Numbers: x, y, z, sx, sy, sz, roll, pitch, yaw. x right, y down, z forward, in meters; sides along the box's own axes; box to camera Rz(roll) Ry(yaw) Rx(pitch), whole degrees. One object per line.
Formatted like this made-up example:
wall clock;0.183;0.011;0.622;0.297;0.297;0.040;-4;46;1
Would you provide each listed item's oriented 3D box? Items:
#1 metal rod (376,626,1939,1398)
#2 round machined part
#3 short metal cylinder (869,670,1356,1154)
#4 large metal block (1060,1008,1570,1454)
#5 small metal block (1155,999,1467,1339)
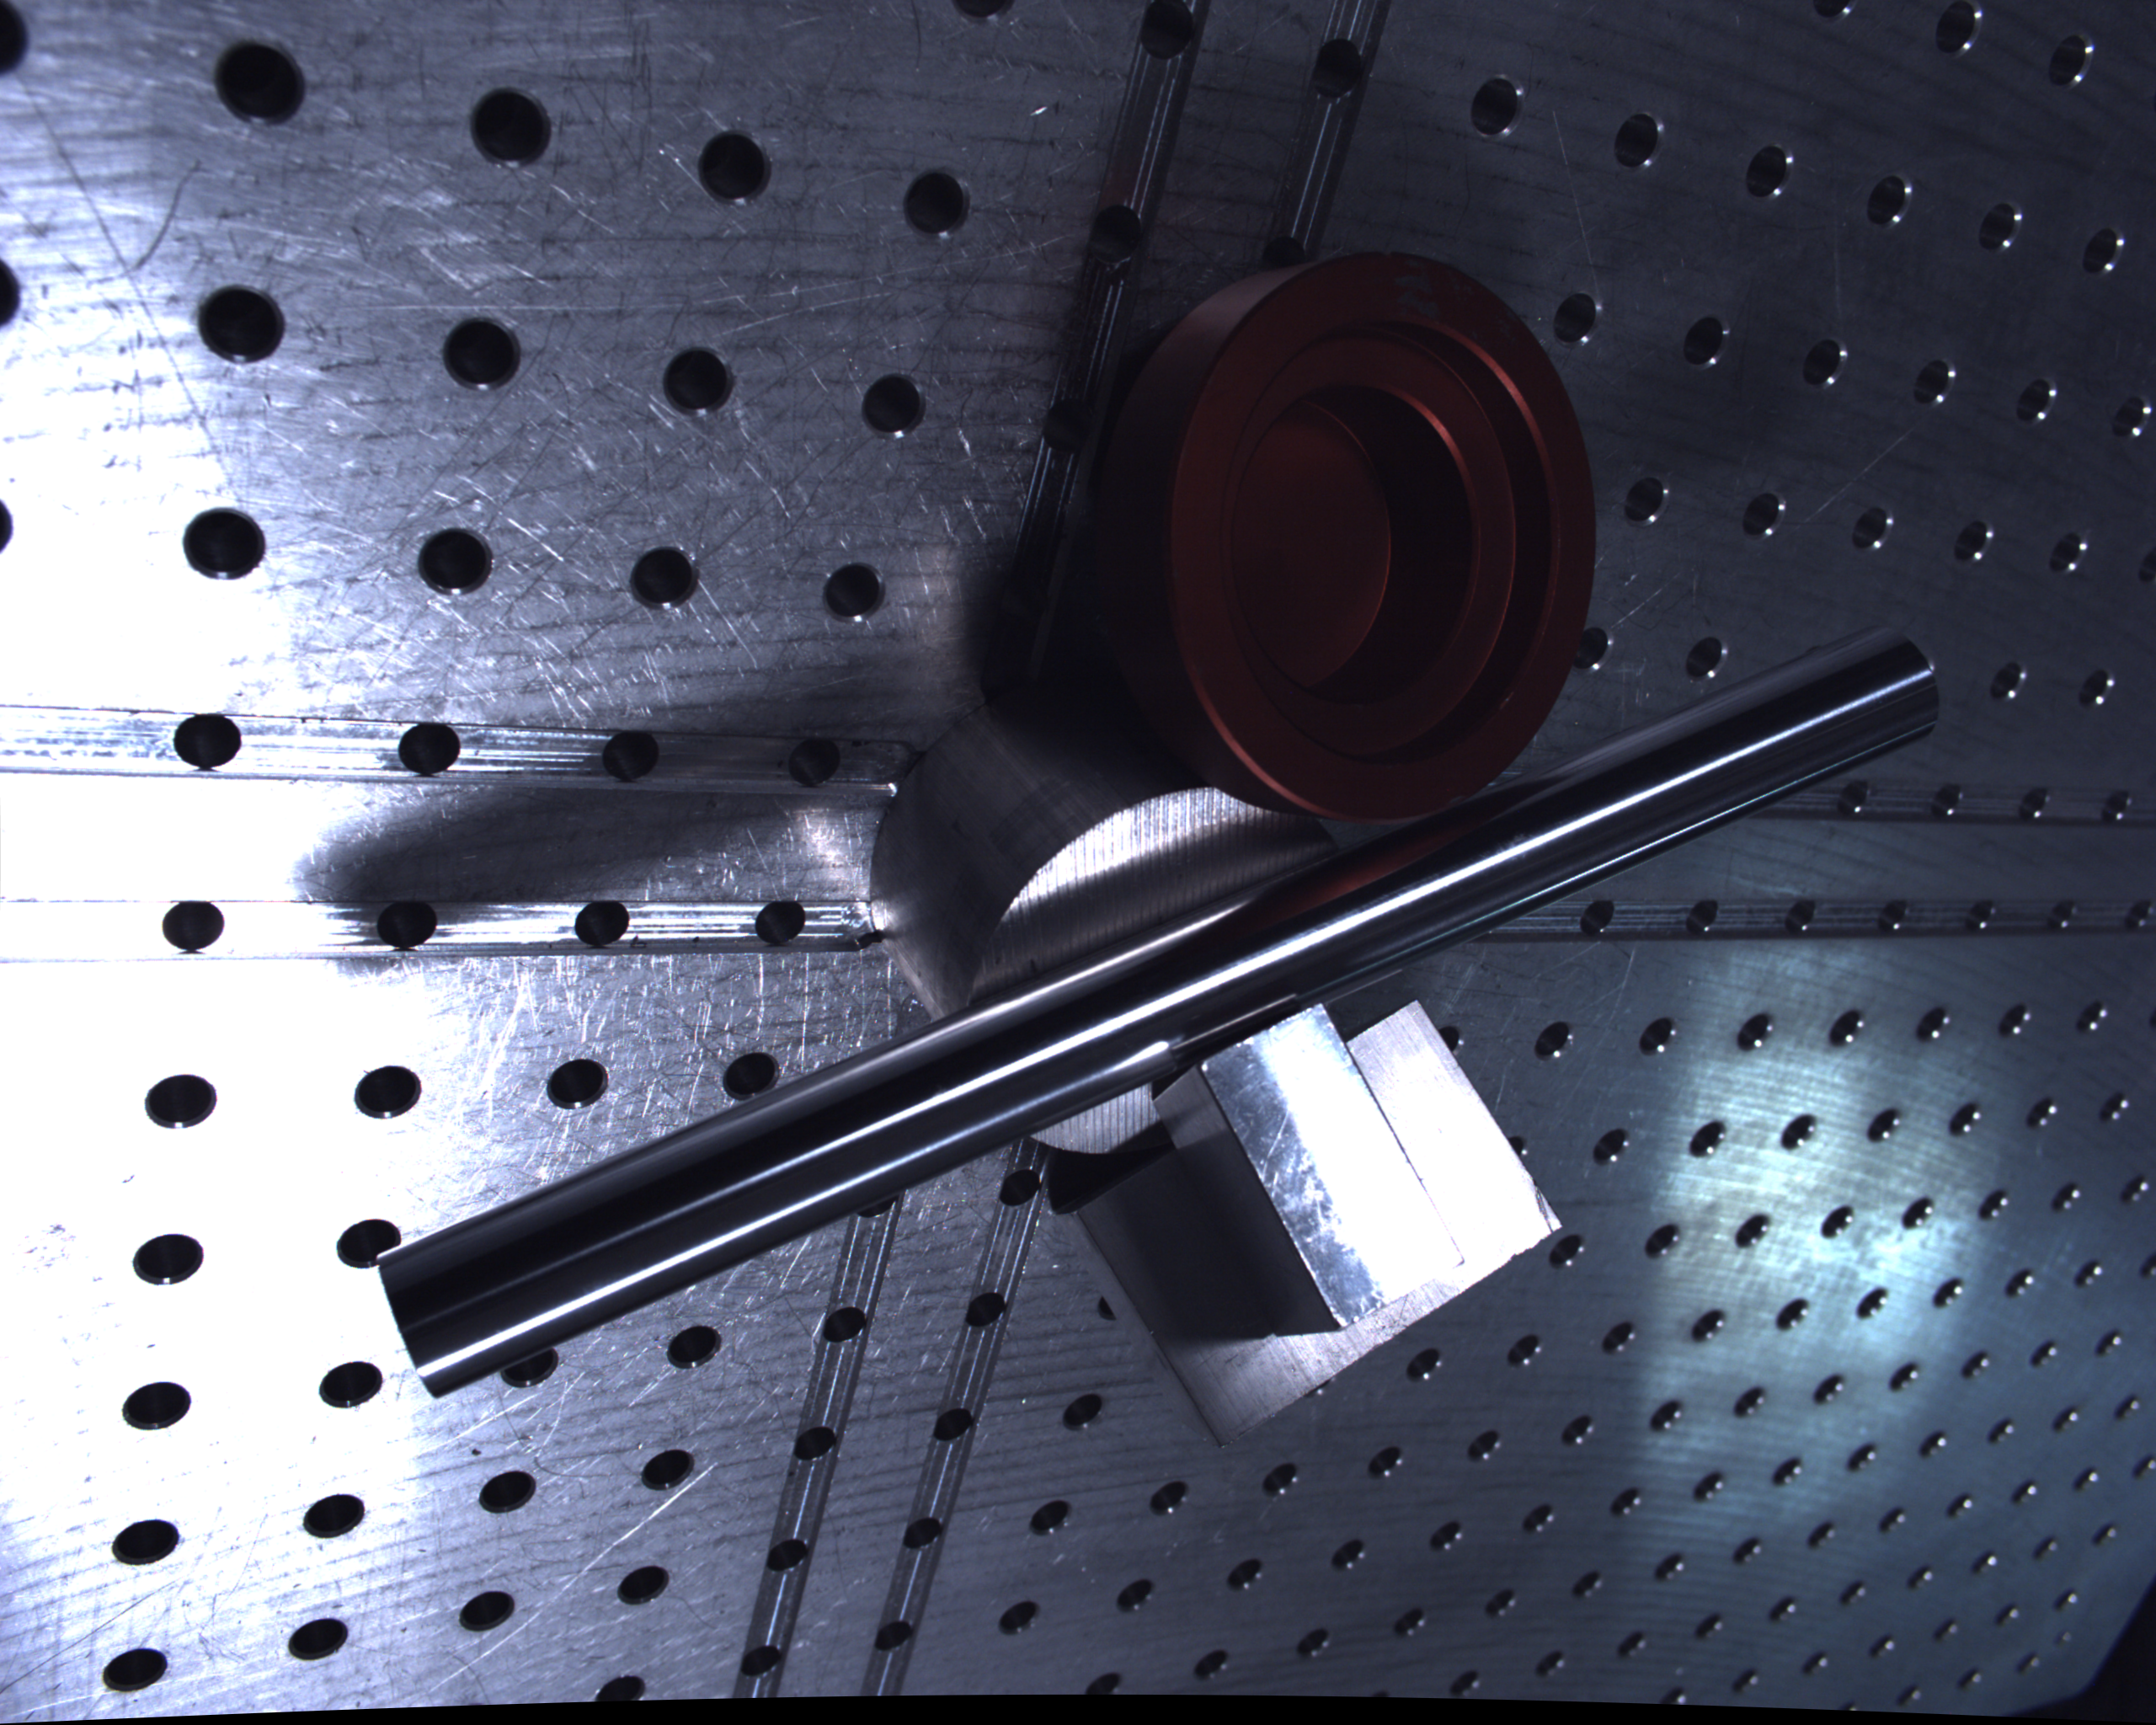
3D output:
metal rod;0.027;0.019;0.374;0.302;0.025;0.025;-22;127;-16
round machined part;0.044;-0.057;0.375;0.099;0.042;0.097;-5;99;-34
short metal cylinder;0.006;0.009;0.405;0.081;0.050;0.079;-14;125;-21
large metal block;0.045;0.077;0.439;0.080;0.050;0.080;-31;173;-9
small metal block;0.040;0.056;0.374;0.025;0.050;0.050;-26;170;-12
